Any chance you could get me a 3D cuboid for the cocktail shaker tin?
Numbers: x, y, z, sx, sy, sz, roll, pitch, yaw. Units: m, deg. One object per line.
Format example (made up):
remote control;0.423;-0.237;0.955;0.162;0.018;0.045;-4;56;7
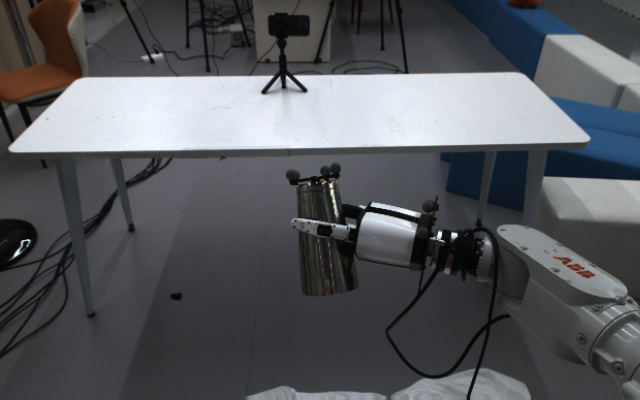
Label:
cocktail shaker tin;0.005;0.058;0.769;0.093;0.170;0.093;-8;1;0
